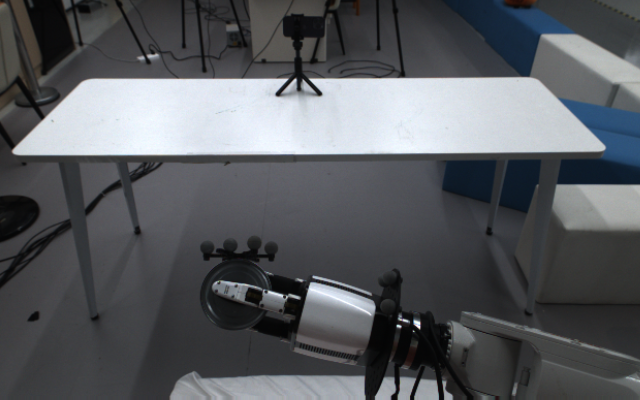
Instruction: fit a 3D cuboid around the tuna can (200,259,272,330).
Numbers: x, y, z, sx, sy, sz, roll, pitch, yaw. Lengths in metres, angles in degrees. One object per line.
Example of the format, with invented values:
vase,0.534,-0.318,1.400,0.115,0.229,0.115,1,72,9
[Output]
tuna can,-0.099,0.120,0.588,0.085,0.034,0.085,1,72,-4
